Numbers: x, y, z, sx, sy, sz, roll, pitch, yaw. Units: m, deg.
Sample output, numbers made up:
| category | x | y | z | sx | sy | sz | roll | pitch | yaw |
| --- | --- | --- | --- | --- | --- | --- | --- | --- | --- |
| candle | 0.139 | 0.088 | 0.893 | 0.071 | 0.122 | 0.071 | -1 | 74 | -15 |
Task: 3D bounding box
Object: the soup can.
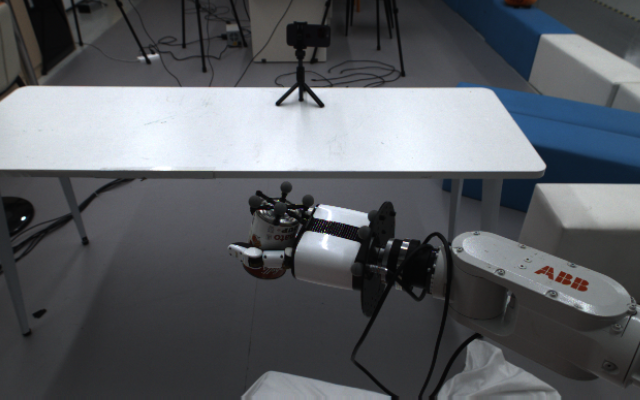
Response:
| category | x | y | z | sx | sy | sz | roll | pitch | yaw |
| --- | --- | --- | --- | --- | --- | --- | --- | --- | --- |
| soup can | -0.069 | 0.056 | 0.698 | 0.067 | 0.101 | 0.067 | 13 | 31 | -8 |
